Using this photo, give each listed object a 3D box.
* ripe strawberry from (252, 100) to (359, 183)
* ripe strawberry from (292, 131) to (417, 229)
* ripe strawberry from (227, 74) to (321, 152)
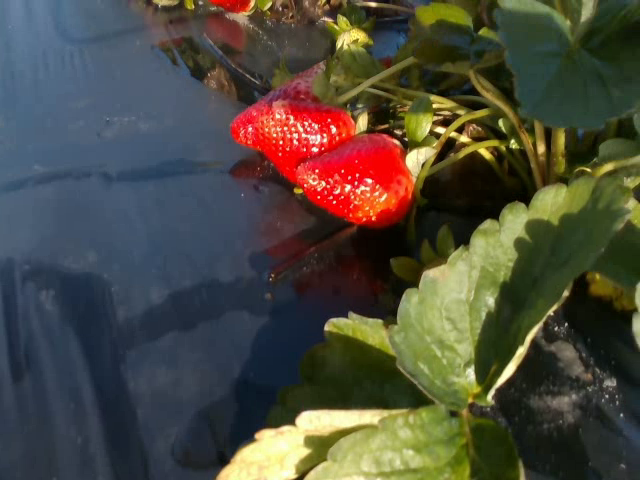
[{"bbox_3d":[-0.006,-0.038,0.210,0.039,0.037,0.031,26,29,-34],"label":"ripe strawberry"},{"bbox_3d":[0.006,-0.019,0.192,0.041,0.034,0.035,7,28,-35],"label":"ripe strawberry"},{"bbox_3d":[-0.015,-0.050,0.236,0.045,0.023,0.032,-23,42,-11],"label":"ripe strawberry"}]
